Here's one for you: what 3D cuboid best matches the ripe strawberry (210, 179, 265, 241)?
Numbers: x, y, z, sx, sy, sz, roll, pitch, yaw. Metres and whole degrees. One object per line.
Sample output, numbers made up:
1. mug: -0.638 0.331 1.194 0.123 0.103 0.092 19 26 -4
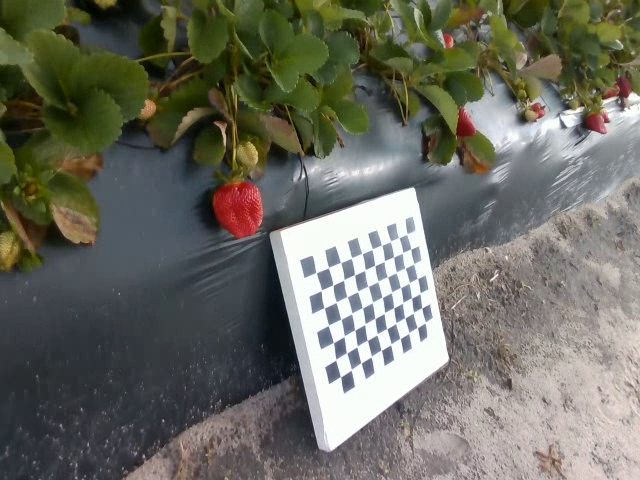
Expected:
1. ripe strawberry: -0.095 -0.037 0.703 0.067 0.075 0.039 -14 4 -43
